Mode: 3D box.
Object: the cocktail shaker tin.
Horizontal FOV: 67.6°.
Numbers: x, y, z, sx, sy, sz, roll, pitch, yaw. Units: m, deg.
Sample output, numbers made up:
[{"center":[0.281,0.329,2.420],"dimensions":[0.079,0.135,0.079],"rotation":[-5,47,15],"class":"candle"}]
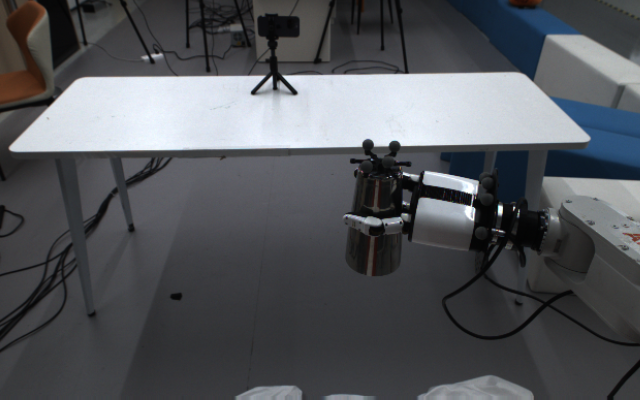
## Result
[{"center":[0.089,0.022,0.754],"dimensions":[0.093,0.170,0.093],"rotation":[0,33,0],"class":"cocktail shaker tin"}]
